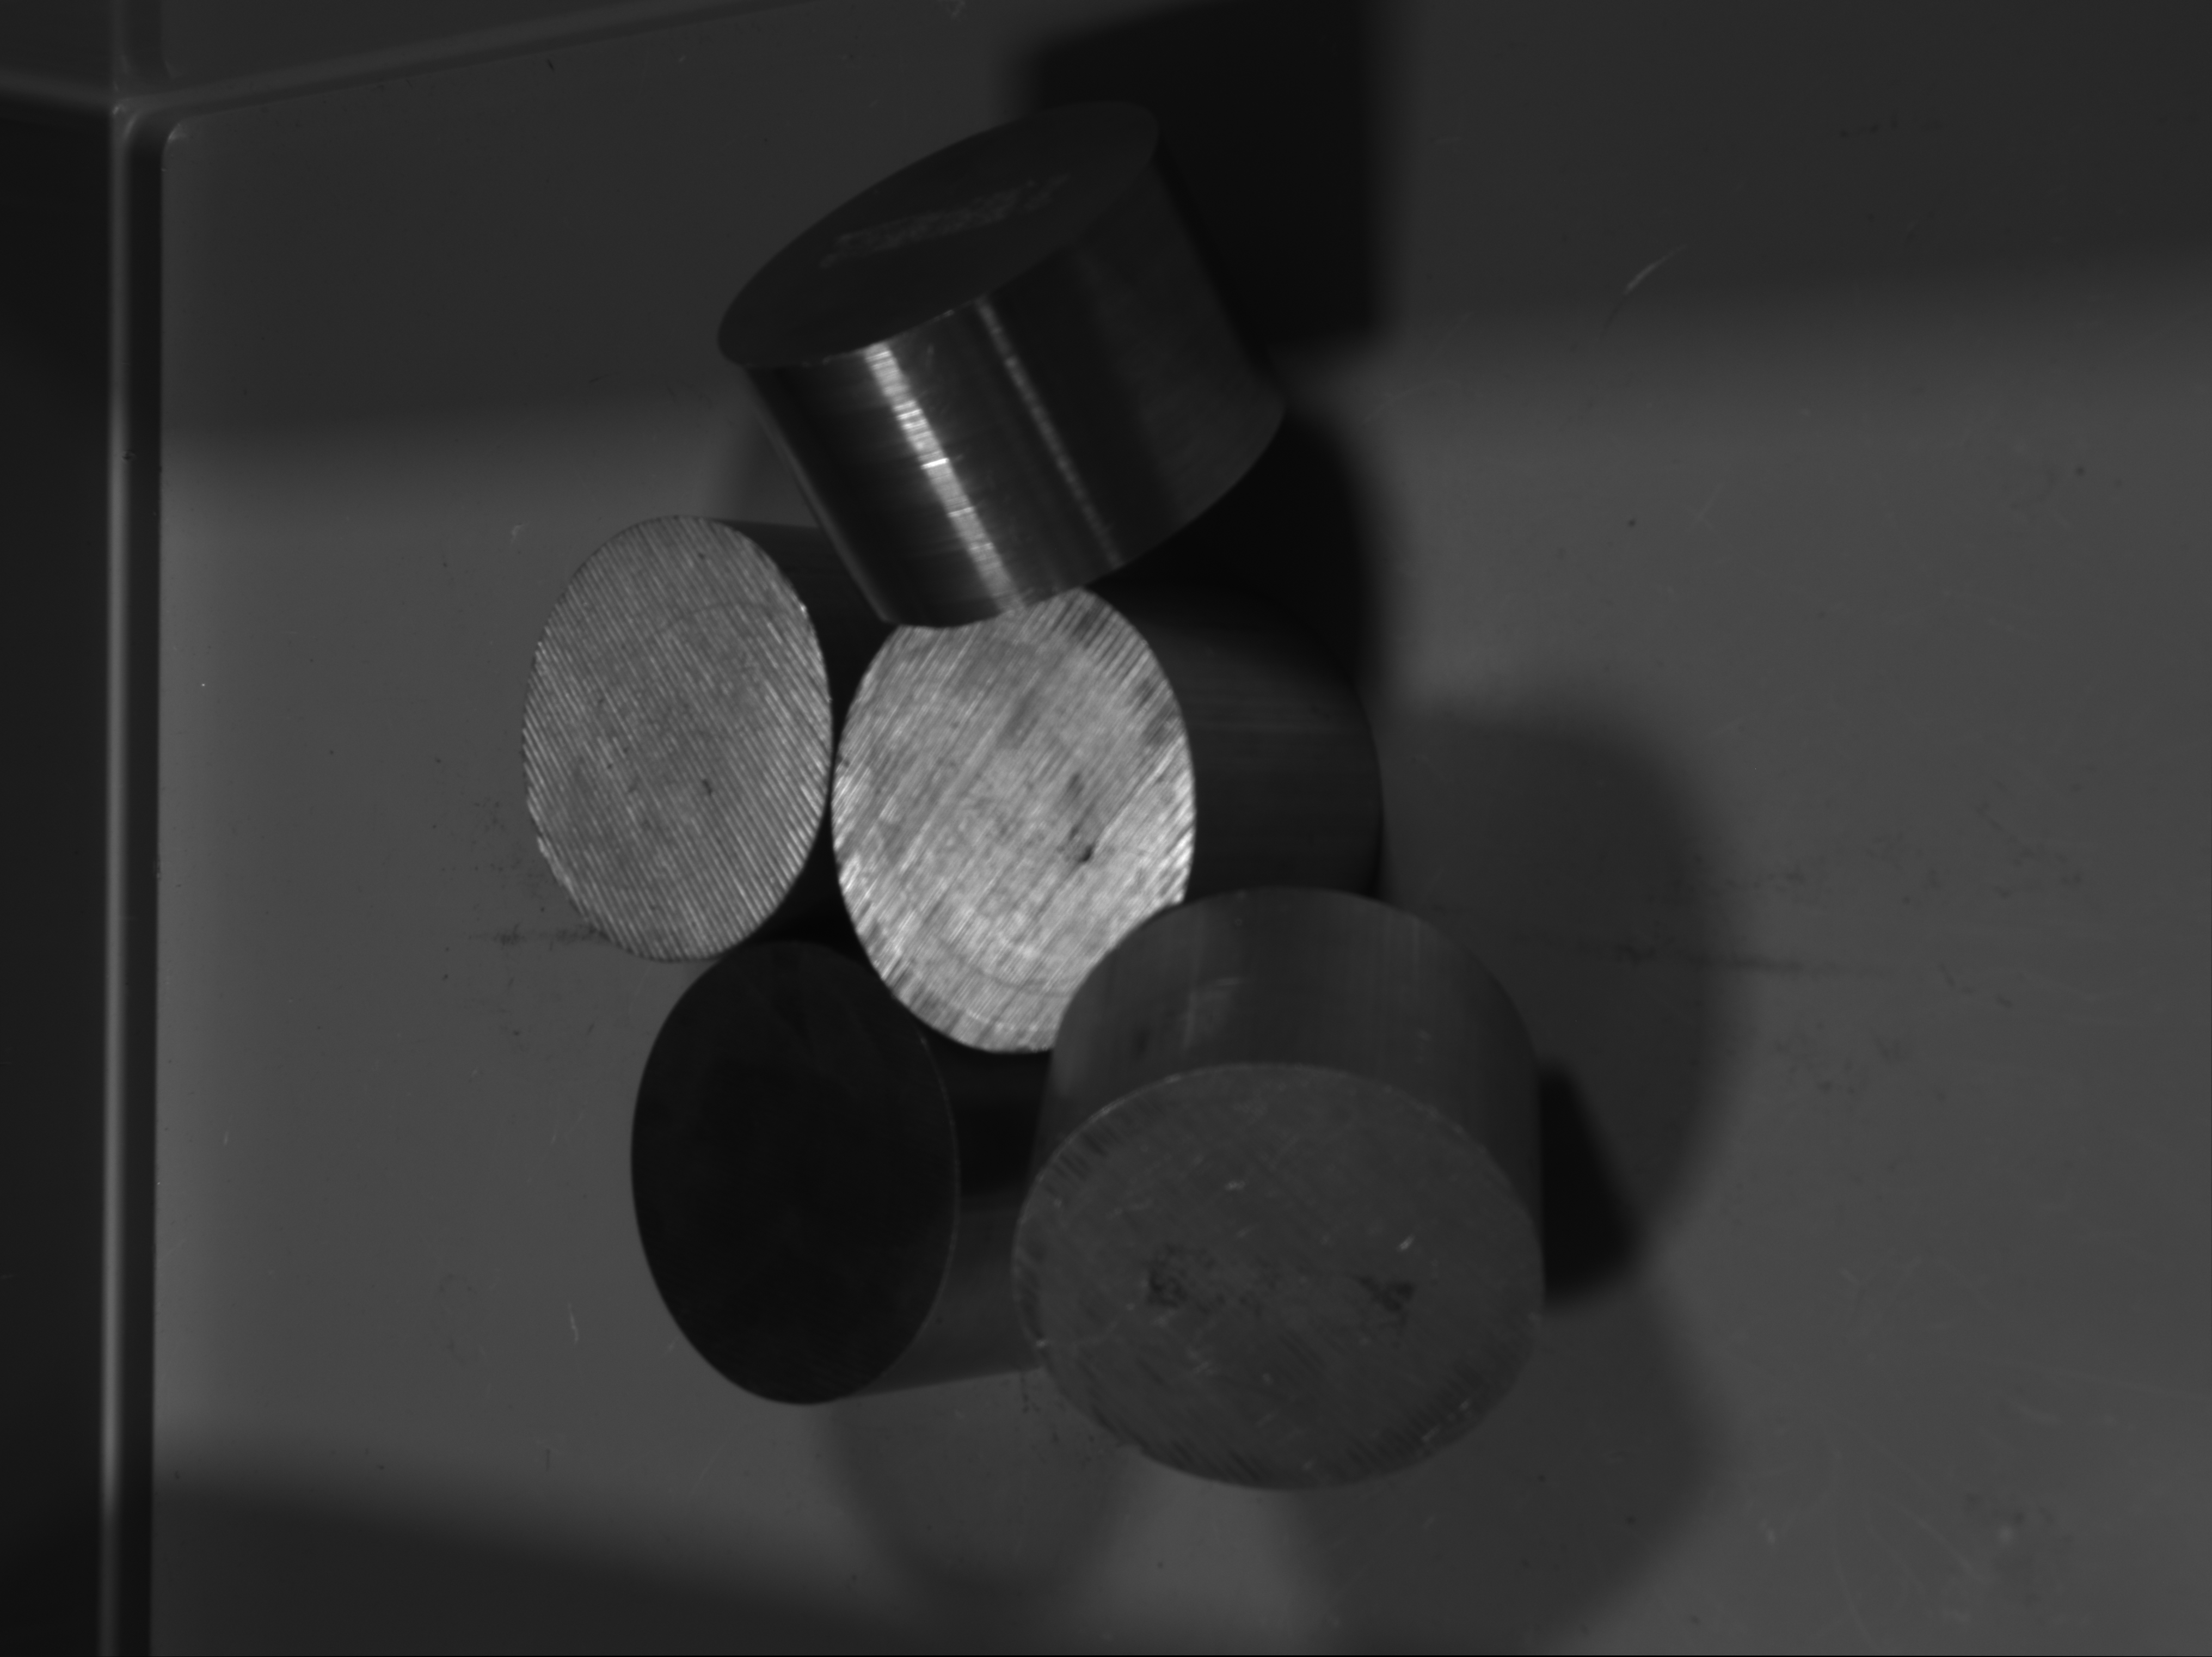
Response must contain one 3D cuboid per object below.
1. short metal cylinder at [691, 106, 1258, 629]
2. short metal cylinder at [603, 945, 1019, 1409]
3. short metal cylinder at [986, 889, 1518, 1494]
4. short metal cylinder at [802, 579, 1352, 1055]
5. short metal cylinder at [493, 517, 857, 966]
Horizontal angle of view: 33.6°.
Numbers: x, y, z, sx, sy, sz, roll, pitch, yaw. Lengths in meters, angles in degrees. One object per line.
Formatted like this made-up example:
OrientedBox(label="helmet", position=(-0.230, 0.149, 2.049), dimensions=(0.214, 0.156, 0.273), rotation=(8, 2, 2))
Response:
OrientedBox(label="short metal cylinder", position=(-0.022, -0.077, 0.608), dimensions=(0.080, 0.080, 0.050), rotation=(-4, 126, 39))
OrientedBox(label="short metal cylinder", position=(-0.044, 0.060, 0.654), dimensions=(0.080, 0.050, 0.080), rotation=(0, 90, 39))
OrientedBox(label="short metal cylinder", position=(0.024, 0.057, 0.572), dimensions=(0.080, 0.050, 0.080), rotation=(2, 120, 4))
OrientedBox(label="short metal cylinder", position=(-0.005, -0.003, 0.622), dimensions=(0.080, 0.050, 0.080), rotation=(0, 90, 39))
OrientedBox(label="short metal cylinder", position=(-0.067, -0.015, 0.673), dimensions=(0.080, 0.050, 0.080), rotation=(0, 90, 39))
